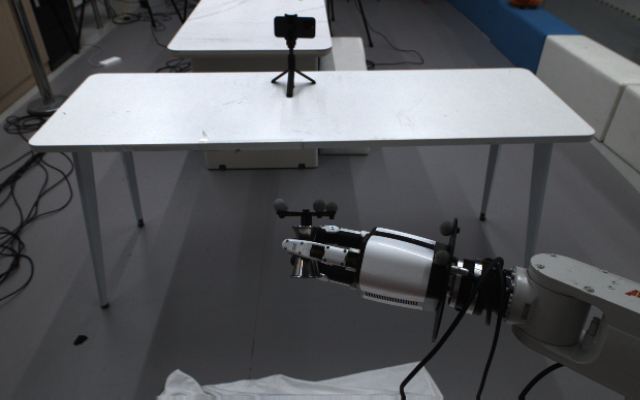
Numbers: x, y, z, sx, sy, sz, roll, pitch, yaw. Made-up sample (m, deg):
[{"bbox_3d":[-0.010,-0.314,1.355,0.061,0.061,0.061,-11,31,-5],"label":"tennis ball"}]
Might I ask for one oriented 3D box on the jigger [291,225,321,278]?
[{"bbox_3d":[-0.019,0.069,0.650,0.043,0.071,0.043,1,-5,0],"label":"jigger"}]
